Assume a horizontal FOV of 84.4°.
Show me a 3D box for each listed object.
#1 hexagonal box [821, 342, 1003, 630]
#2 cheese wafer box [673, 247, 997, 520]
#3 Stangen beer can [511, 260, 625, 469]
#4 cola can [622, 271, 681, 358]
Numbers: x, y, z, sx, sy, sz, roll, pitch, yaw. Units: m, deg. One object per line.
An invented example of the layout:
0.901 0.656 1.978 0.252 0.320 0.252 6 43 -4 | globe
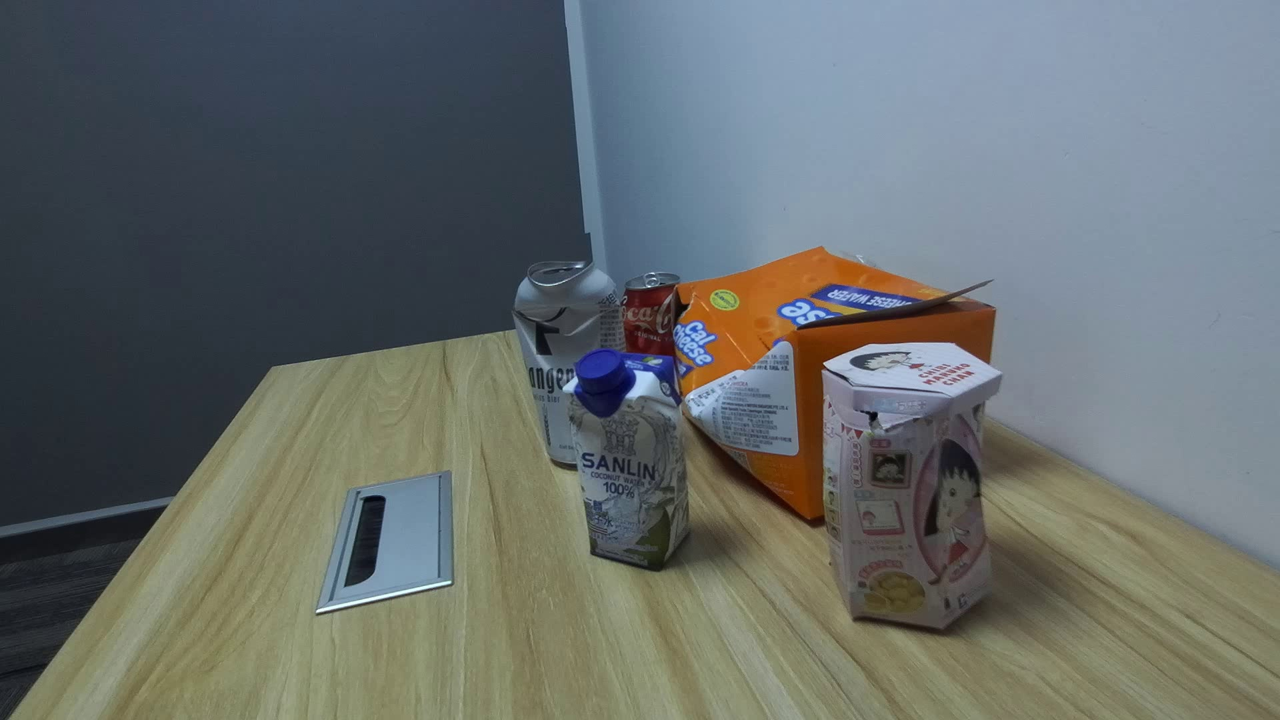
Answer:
0.143 0.065 0.386 0.091 0.134 0.090 -4 17 5 | hexagonal box
0.124 0.002 0.553 0.192 0.145 0.218 -11 19 -18 | cheese wafer box
-0.052 0.004 0.568 0.077 0.162 0.065 -11 19 -15 | Stangen beer can
0.019 -0.026 0.699 0.066 0.117 0.066 5 22 33 | cola can
